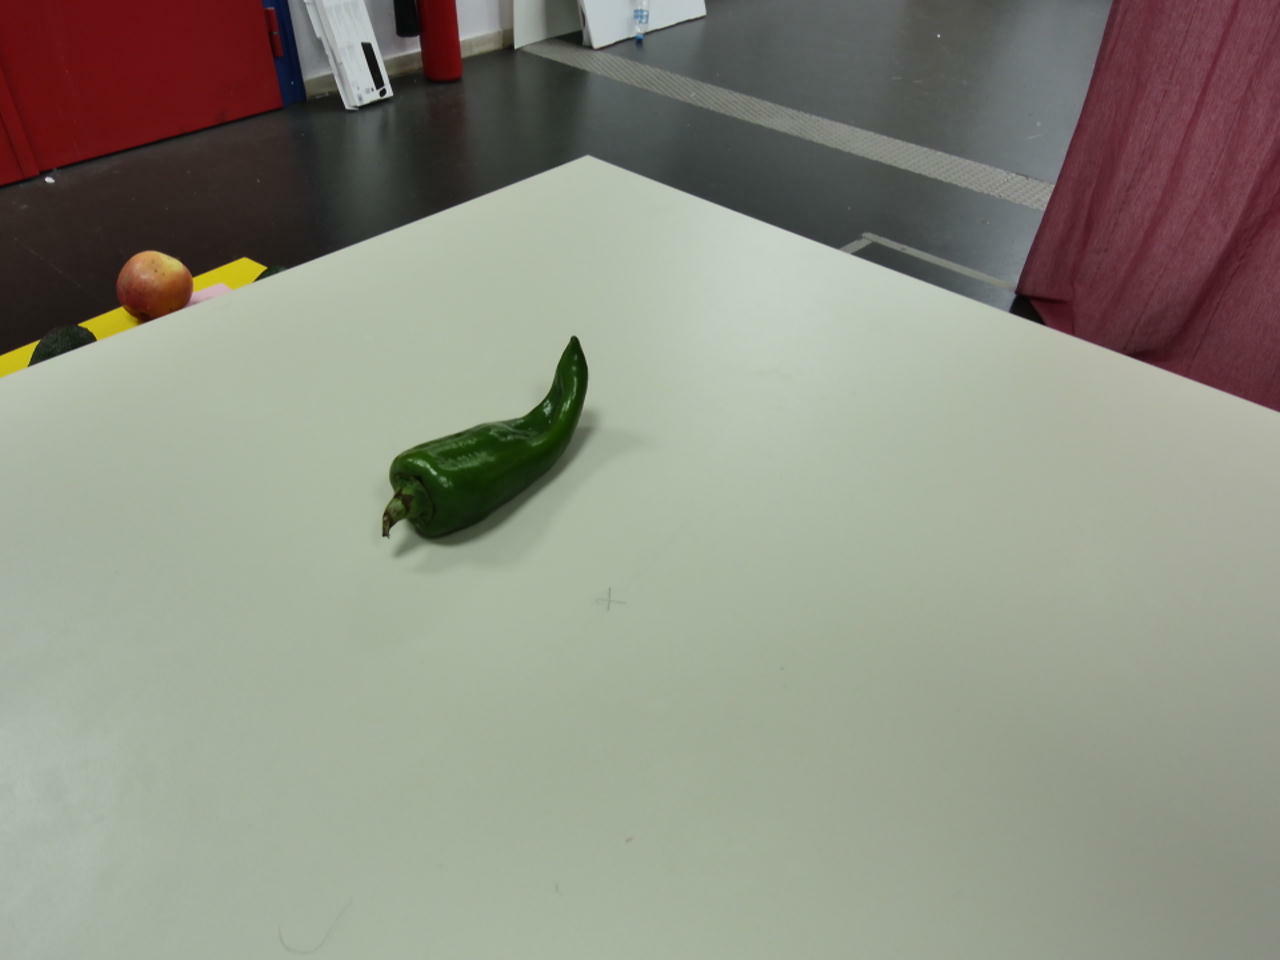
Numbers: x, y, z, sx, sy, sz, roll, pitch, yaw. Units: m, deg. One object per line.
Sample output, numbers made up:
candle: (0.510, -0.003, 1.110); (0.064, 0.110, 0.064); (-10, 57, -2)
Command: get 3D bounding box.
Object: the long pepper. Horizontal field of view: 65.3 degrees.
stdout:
long pepper: (-0.085, -0.023, 0.587); (0.058, 0.065, 0.175); (27, 45, 30)
